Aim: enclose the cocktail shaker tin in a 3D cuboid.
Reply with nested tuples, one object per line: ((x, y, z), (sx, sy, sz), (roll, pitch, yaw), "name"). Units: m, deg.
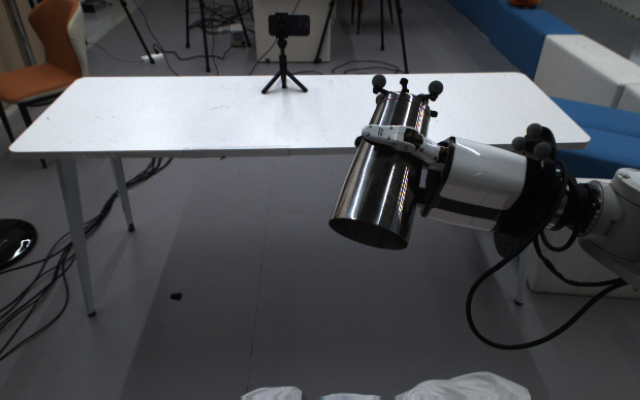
((0.078, -0.038, 0.566), (0.093, 0.093, 0.170), (13, 70, 15), "cocktail shaker tin")
